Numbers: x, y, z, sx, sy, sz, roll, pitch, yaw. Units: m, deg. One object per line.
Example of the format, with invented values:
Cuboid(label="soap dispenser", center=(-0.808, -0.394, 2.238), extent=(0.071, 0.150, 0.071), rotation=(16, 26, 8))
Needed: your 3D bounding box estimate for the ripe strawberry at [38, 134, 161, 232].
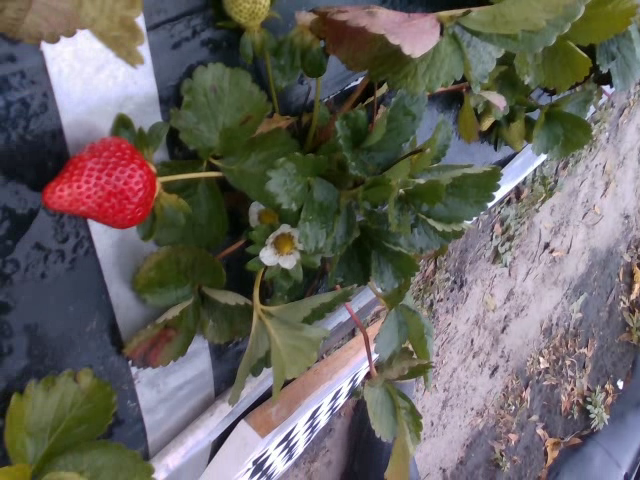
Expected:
Cuboid(label="ripe strawberry", center=(-0.087, -0.021, 0.233), extent=(0.037, 0.042, 0.051), rotation=(44, 30, 14))
